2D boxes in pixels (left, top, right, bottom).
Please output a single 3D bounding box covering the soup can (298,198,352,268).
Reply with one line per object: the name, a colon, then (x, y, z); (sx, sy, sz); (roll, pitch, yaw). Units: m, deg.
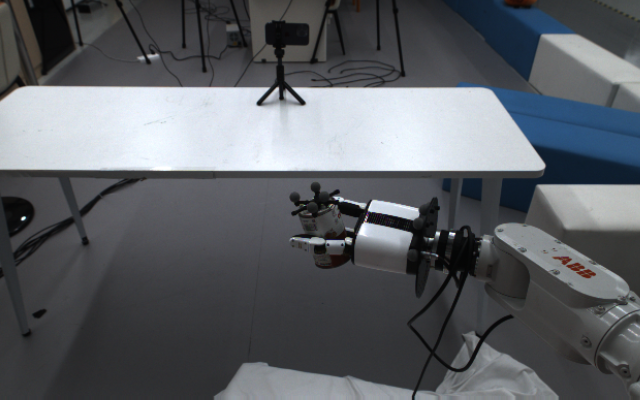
soup can: (0.010, 0.054, 0.797); (0.067, 0.101, 0.067); (-16, 22, 7)
